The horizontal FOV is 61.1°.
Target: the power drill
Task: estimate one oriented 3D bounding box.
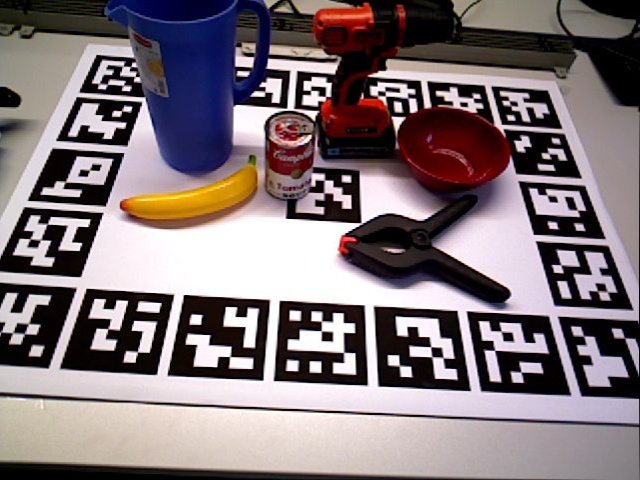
[{"bbox_3d":[0.081,-0.225,0.718,0.183,0.191,0.056,-1,53,-7],"label":"power drill"}]

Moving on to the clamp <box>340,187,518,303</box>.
[{"bbox_3d":[0.125,0.001,0.664,0.201,0.037,0.163,0,58,-5],"label":"clamp"}]

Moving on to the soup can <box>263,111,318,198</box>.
[{"bbox_3d":[-0.040,-0.115,0.706,0.067,0.104,0.067,2,44,-3],"label":"soup can"}]

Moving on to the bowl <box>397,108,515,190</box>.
[{"bbox_3d":[0.182,-0.123,0.757,0.161,0.056,0.159,2,55,-3],"label":"bowl"}]

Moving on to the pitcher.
[{"bbox_3d":[-0.155,-0.213,0.678,0.186,0.248,0.132,-17,53,-18],"label":"pitcher"}]

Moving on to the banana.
[{"bbox_3d":[-0.165,-0.060,0.697,0.194,0.040,0.074,-18,48,-19],"label":"banana"}]
